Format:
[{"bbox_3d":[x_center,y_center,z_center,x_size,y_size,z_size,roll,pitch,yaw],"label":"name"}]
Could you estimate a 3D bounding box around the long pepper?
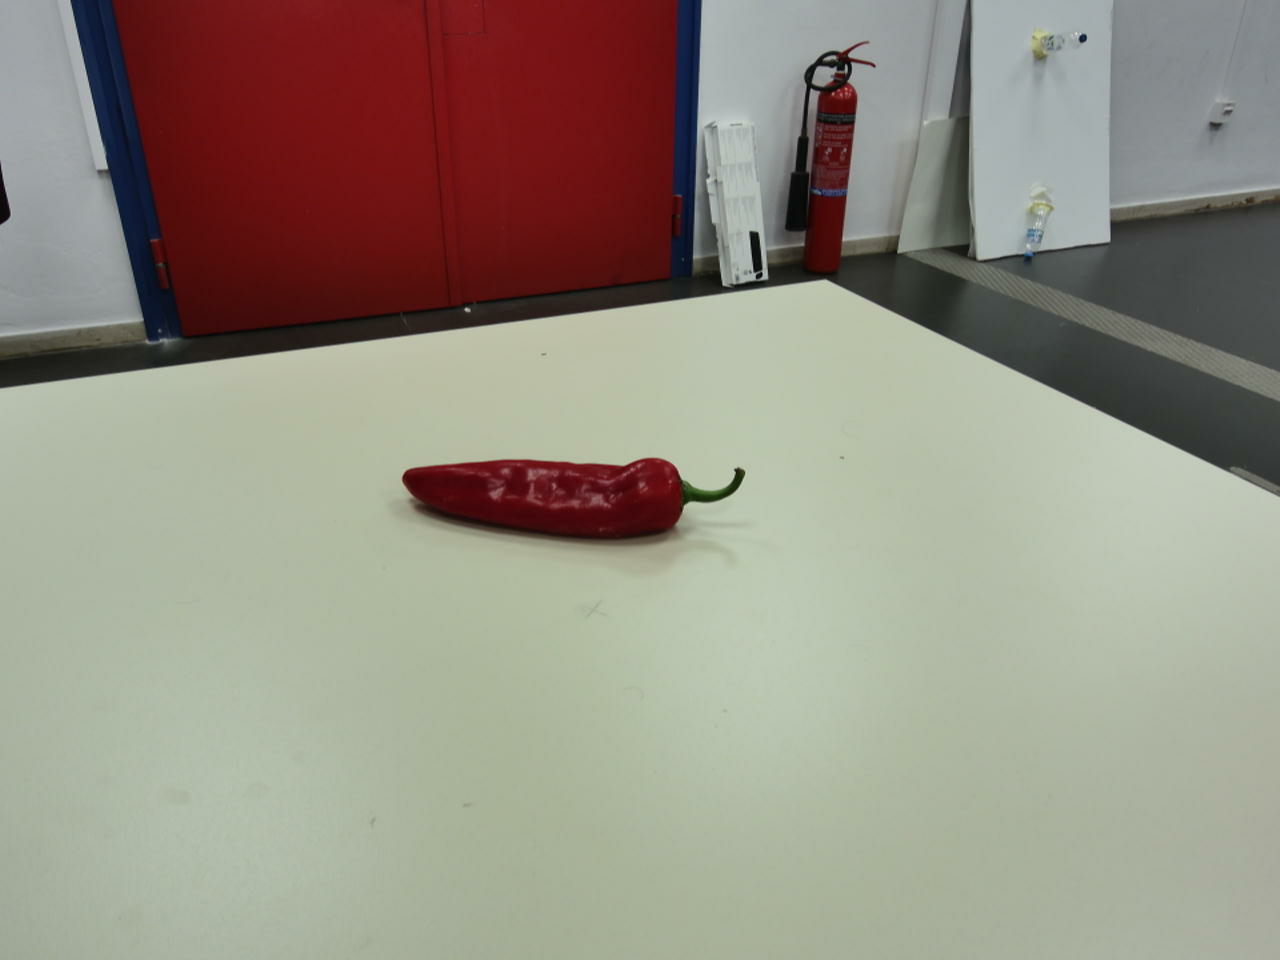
[{"bbox_3d":[-0.044,0.007,0.595,0.211,0.043,0.050,3,26,7],"label":"long pepper"}]
